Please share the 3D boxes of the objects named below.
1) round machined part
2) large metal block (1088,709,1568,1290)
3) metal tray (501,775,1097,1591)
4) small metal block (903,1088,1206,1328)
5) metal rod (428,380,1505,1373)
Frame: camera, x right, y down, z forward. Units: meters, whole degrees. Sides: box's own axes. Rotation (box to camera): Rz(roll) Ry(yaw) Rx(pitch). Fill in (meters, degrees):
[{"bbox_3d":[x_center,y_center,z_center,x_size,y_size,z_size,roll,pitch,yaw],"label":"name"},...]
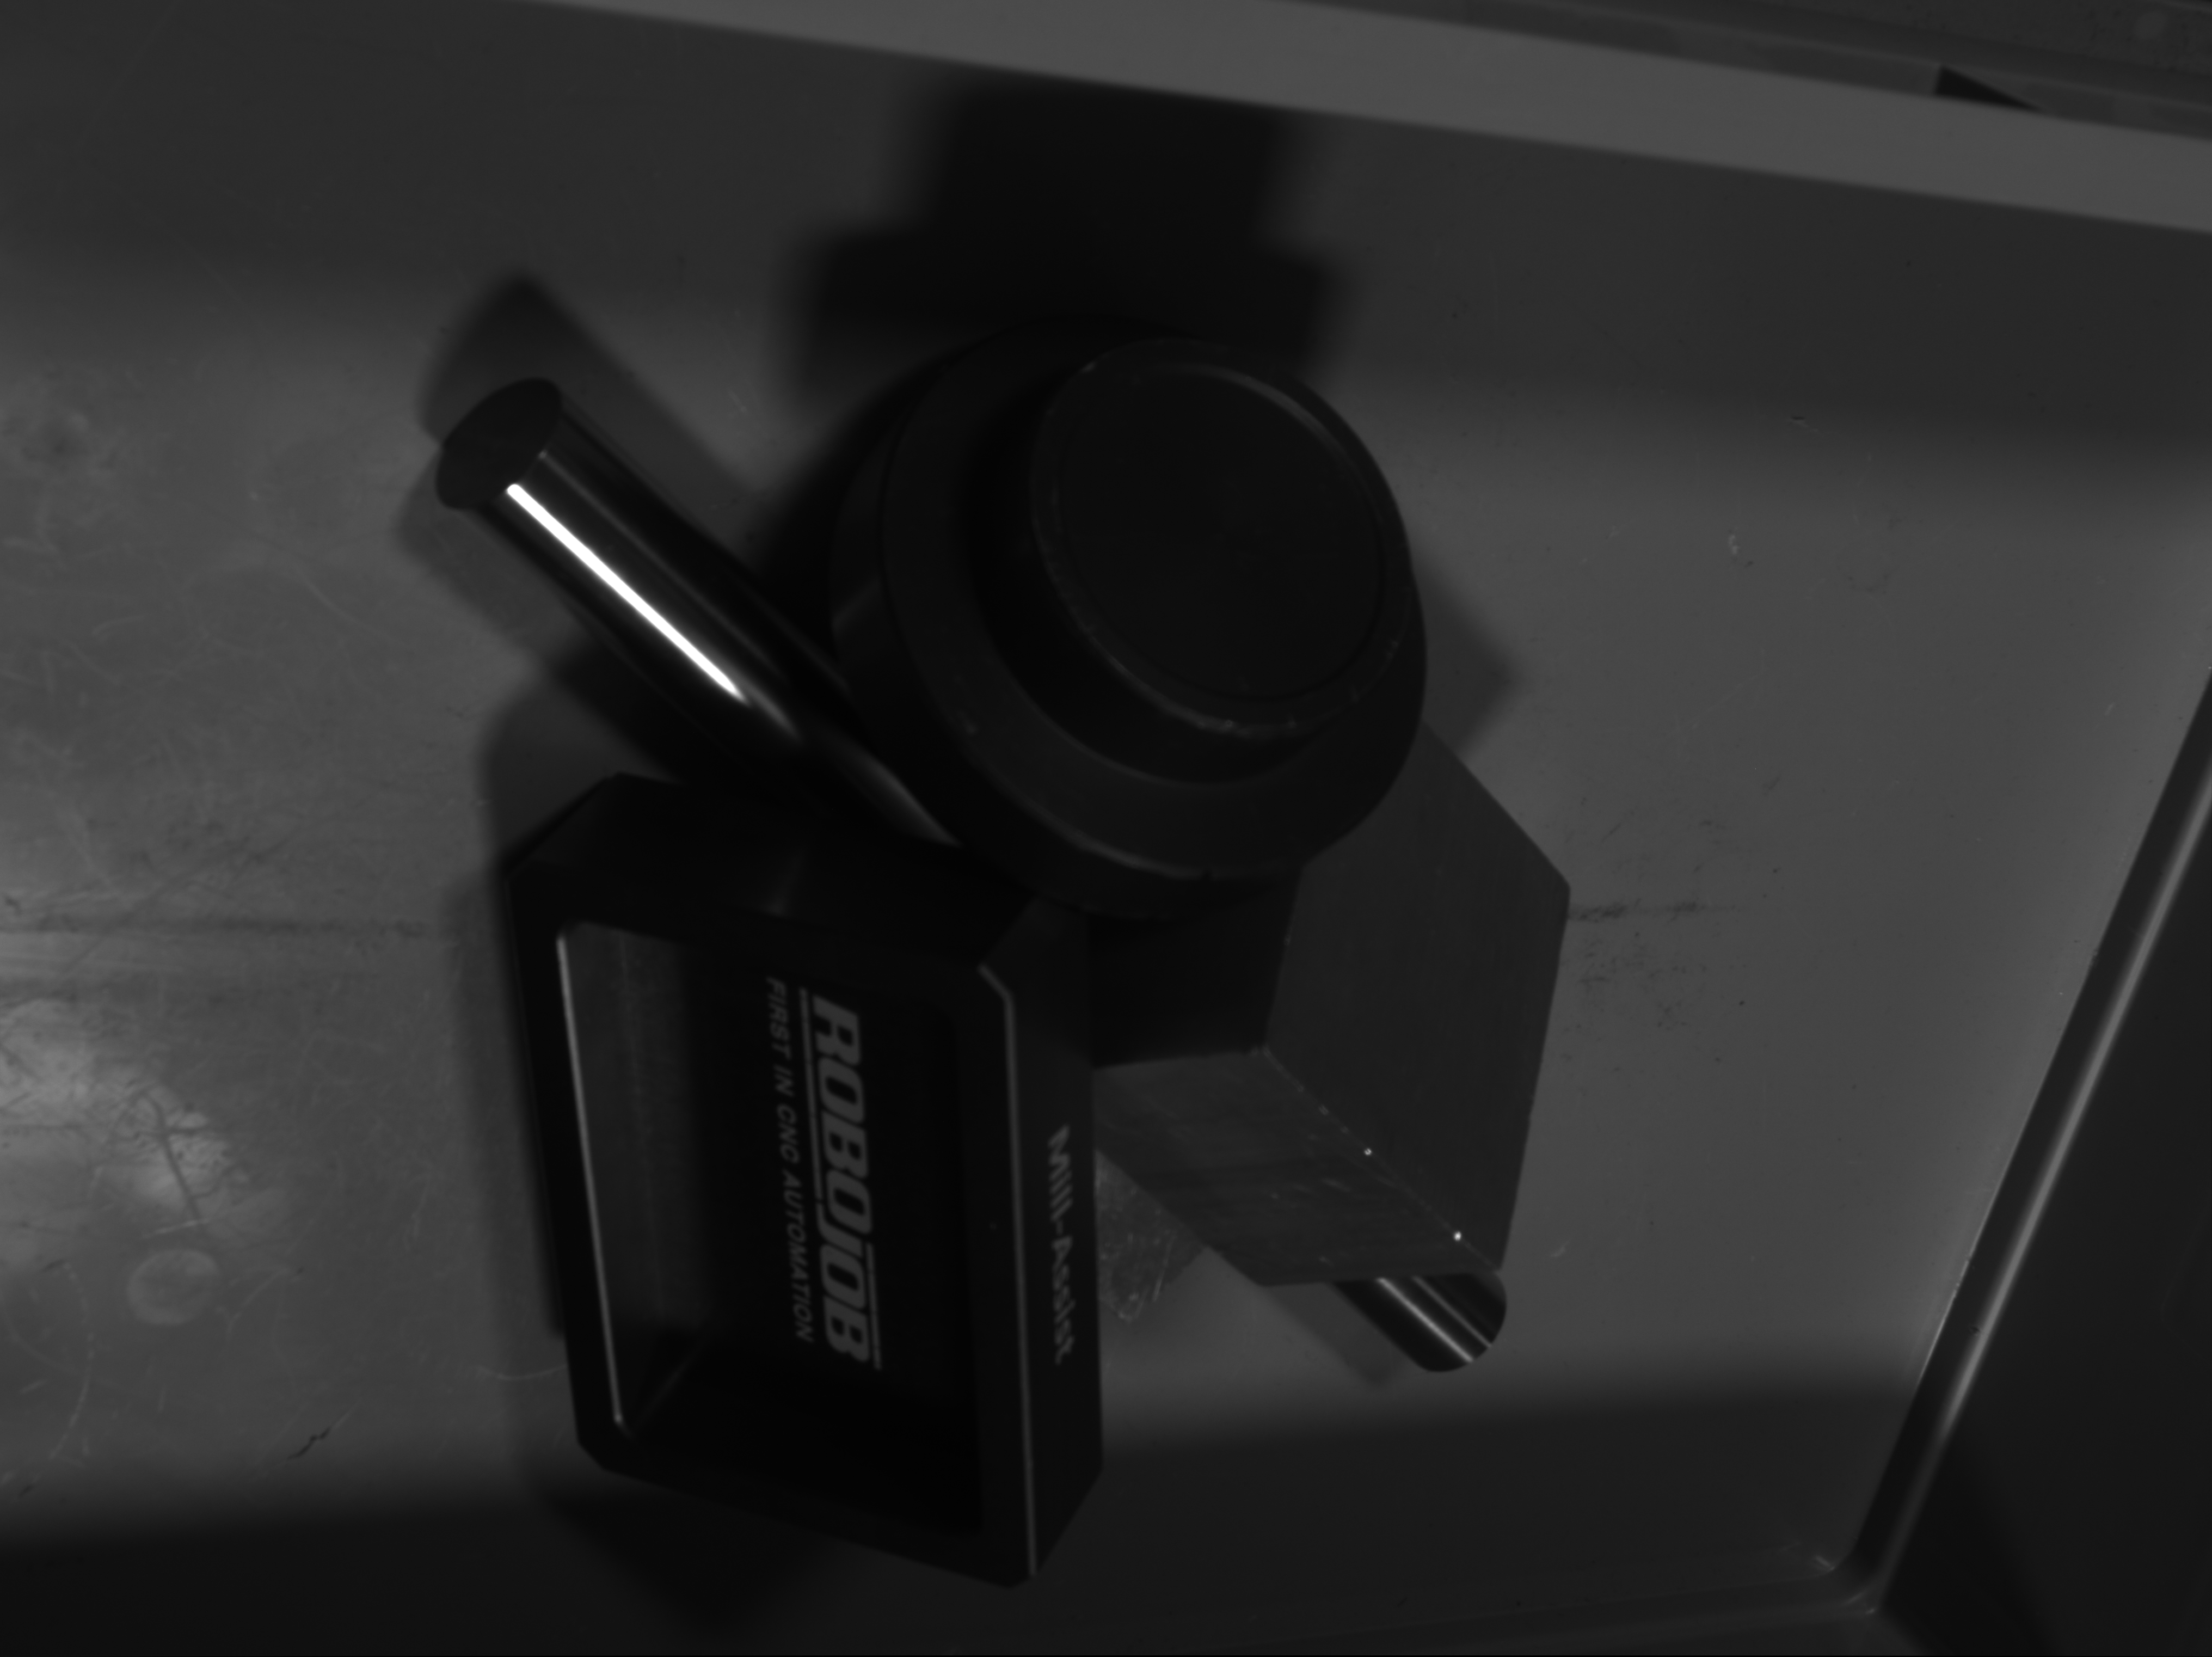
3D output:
[{"bbox_3d":[0.009,-0.038,0.581,0.098,0.098,0.042,-2,160,-29],"label":"round machined part"},{"bbox_3d":[0.034,0.026,0.643,0.080,0.050,0.080,44,49,-40],"label":"large metal block"},{"bbox_3d":[-0.050,0.061,0.618,0.030,0.090,0.130,-52,147,-51],"label":"metal tray"},{"bbox_3d":[-0.012,0.056,0.660,0.025,0.050,0.050,-44,130,1],"label":"small metal block"},{"bbox_3d":[-0.011,0.021,0.656,0.025,0.025,0.301,-45,130,1],"label":"metal rod"}]
